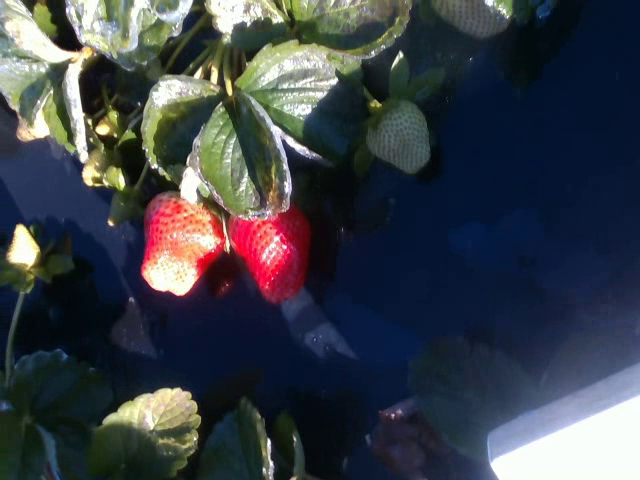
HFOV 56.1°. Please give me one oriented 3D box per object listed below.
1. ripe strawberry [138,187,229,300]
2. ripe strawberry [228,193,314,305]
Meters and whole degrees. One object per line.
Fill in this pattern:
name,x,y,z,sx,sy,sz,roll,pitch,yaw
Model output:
ripe strawberry,-0.079,0.006,0.342,0.052,0.070,0.040,14,11,4
ripe strawberry,-0.030,0.004,0.318,0.043,0.059,0.040,-32,0,21
